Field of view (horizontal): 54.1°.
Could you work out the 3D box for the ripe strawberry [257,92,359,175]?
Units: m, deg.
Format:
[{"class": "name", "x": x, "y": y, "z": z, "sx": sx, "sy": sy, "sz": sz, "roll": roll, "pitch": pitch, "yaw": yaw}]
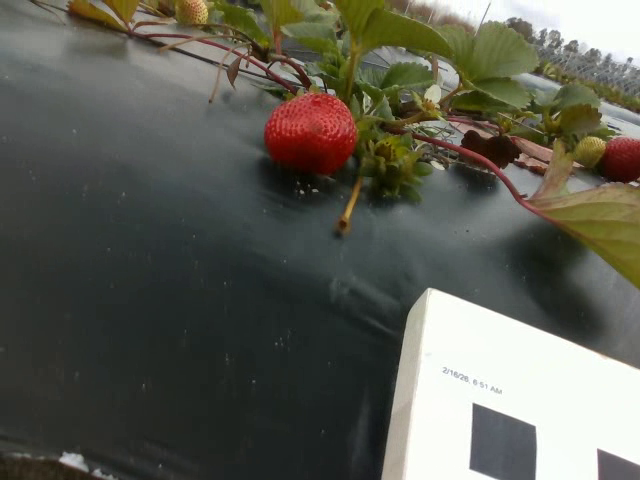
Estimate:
[{"class": "ripe strawberry", "x": -0.001, "y": -0.014, "z": 0.081, "sx": 0.018, "sy": 0.014, "sz": 0.017, "roll": 31, "pitch": 9, "yaw": -7}]
